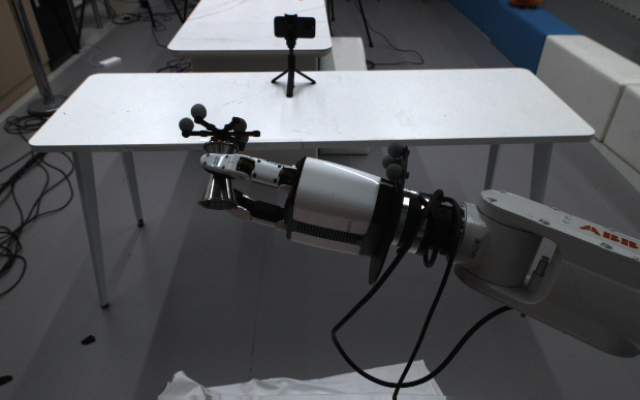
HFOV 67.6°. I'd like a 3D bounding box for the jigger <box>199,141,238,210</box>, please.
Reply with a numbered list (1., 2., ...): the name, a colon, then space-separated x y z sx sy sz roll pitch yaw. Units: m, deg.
1. jigger: -0.111 -0.028 0.540 0.043 0.043 0.071 0 75 -3
